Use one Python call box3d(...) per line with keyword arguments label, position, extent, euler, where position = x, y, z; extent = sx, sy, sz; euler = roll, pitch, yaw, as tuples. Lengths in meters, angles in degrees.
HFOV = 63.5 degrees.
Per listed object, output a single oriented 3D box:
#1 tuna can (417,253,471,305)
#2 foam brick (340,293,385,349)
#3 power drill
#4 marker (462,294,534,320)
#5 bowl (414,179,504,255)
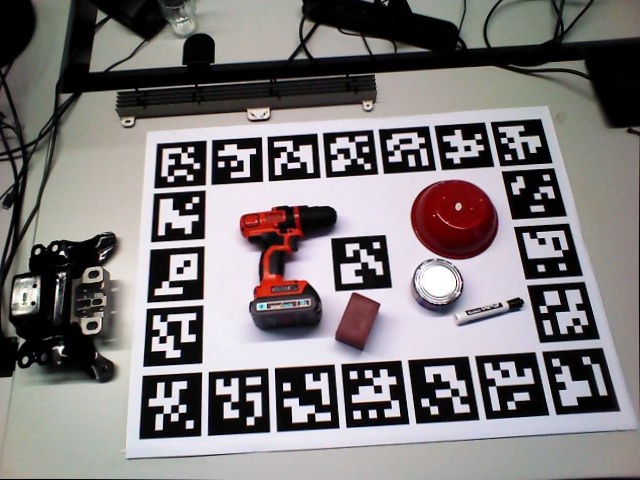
box3d(label="tuna can", position=(0.211, 0.068, 0.885), extent=(0.086, 0.034, 0.085), euler=(0, 68, 0))
box3d(label="foam brick", position=(0.071, 0.134, 0.862), extent=(0.051, 0.053, 0.077), euler=(19, 71, 8))
box3d(label="power drill", position=(-0.052, 0.037, 0.900), extent=(0.185, 0.057, 0.186), euler=(-4, 66, -3))
box3d(label="marker", position=(0.300, 0.112, 0.871), extent=(0.121, 0.020, 0.019), euler=(-13, 70, -3))
box3d(label="bowl", position=(0.253, -0.055, 0.932), extent=(0.162, 0.055, 0.161), euler=(-3, 61, 5))
